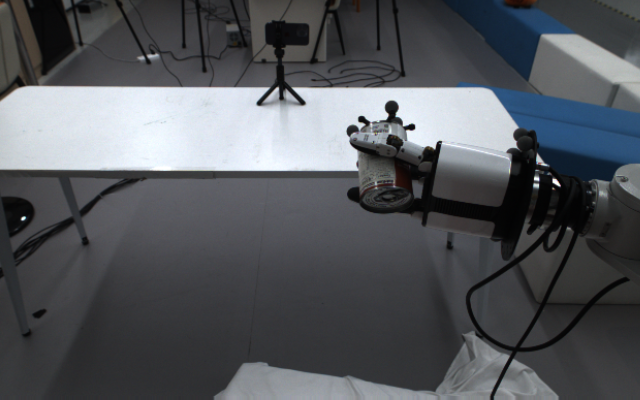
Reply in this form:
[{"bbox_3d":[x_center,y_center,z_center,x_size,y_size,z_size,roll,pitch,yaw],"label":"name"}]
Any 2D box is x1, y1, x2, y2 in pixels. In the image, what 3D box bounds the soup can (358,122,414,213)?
[{"bbox_3d":[0.083,-0.043,0.623,0.067,0.067,0.101,1,62,-2],"label":"soup can"}]
